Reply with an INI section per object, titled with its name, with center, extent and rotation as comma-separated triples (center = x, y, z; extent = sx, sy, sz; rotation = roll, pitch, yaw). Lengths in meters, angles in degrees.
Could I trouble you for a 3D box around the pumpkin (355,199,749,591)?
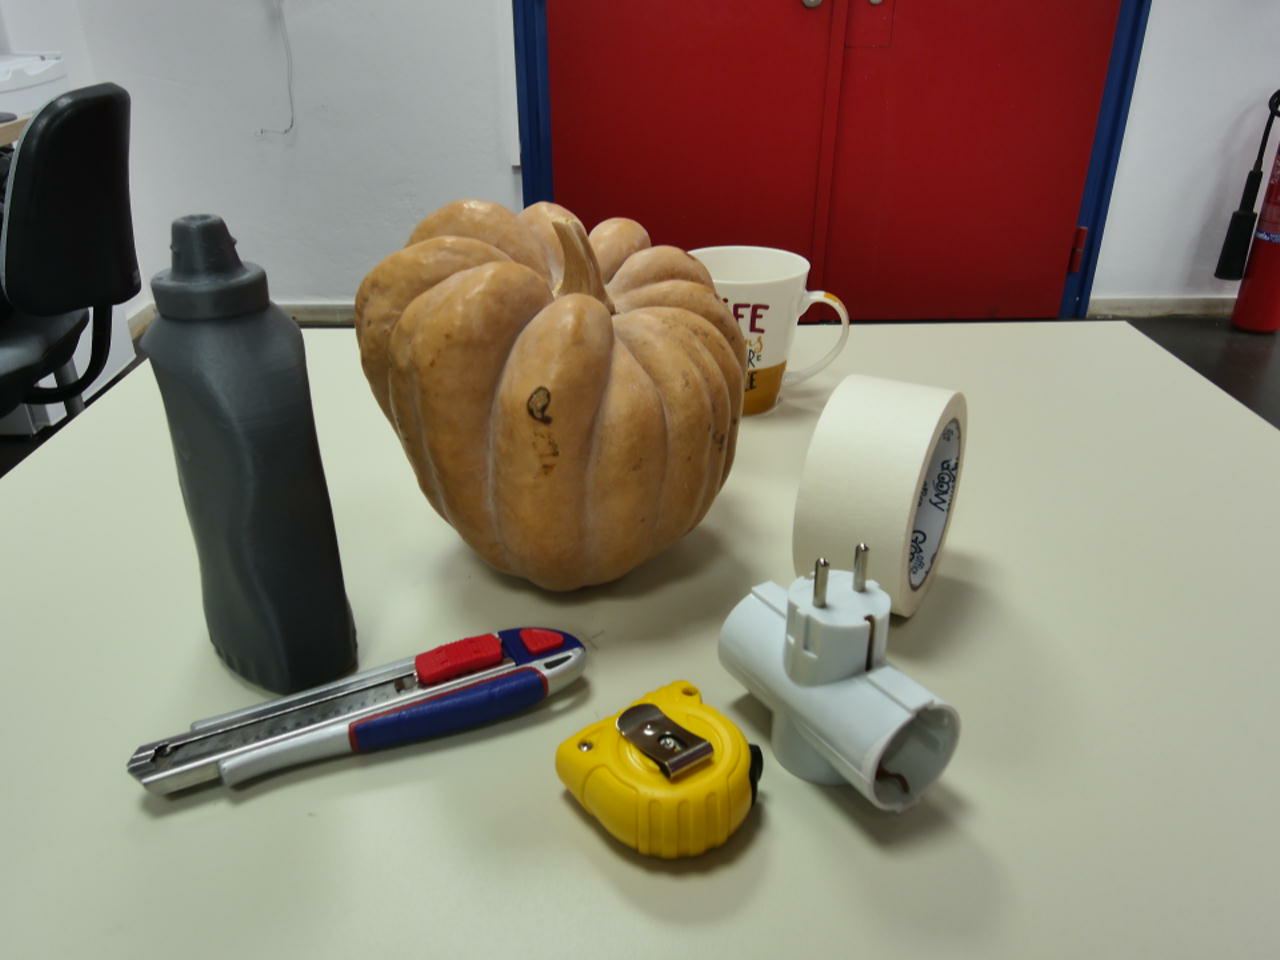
[pumpkin]
center = -0.040, -0.043, 0.495
extent = 0.199, 0.177, 0.198
rotation = 0, 26, 0
